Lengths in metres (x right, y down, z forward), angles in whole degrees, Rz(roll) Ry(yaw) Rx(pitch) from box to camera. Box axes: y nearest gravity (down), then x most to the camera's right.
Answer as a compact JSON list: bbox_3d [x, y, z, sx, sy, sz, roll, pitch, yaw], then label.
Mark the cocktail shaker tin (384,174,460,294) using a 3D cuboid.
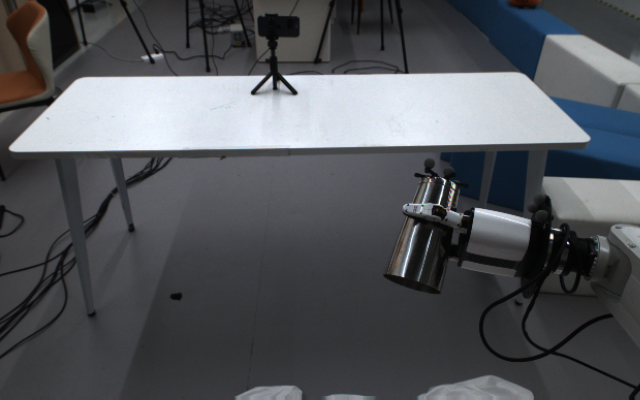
[{"bbox_3d":[0.169,0.052,0.765,0.093,0.093,0.170,15,75,18],"label":"cocktail shaker tin"}]
